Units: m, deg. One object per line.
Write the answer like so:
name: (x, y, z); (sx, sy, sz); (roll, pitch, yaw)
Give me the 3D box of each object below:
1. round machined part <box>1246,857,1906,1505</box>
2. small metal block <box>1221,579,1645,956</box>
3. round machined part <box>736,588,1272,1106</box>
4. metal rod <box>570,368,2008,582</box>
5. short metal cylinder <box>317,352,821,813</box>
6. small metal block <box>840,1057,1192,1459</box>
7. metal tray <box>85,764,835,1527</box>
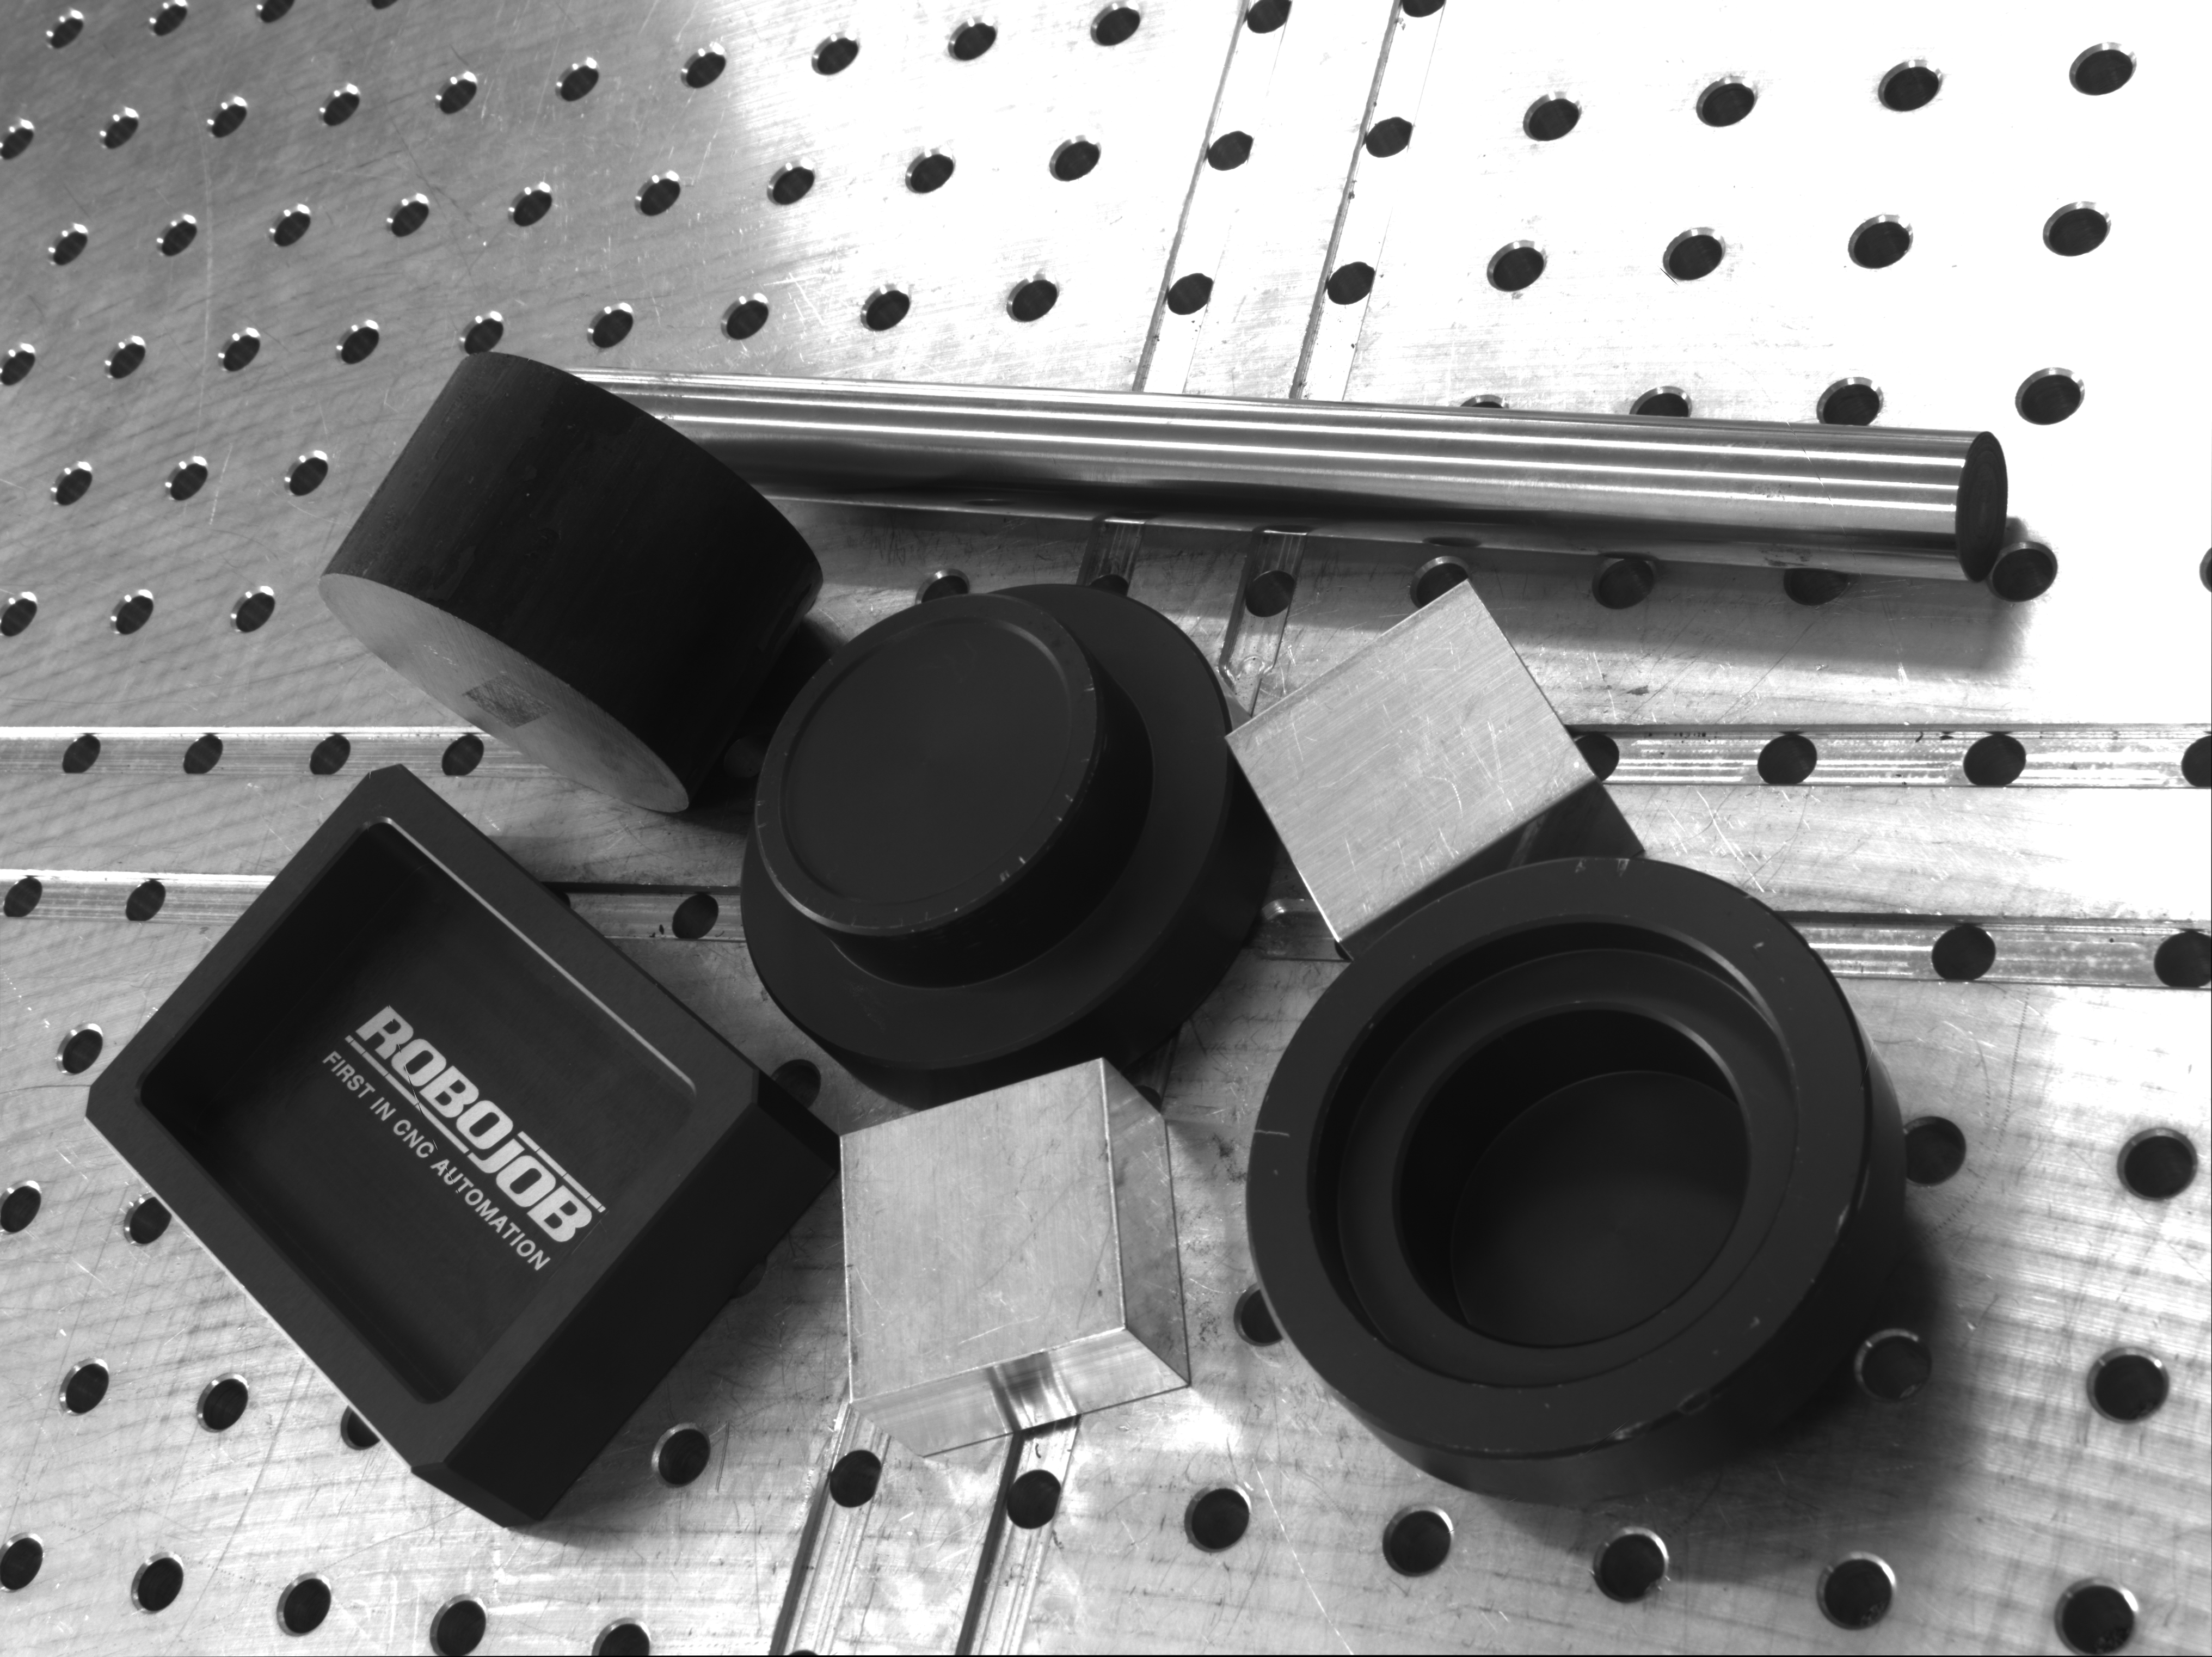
round machined part: (0.074, 0.057, 0.561); (0.098, 0.042, 0.098); (-13, 56, 21)
small metal block: (0.055, -0.006, 0.622); (0.050, 0.025, 0.050); (-33, 51, 7)
round machined part: (-0.023, -0.003, 0.650); (0.098, 0.042, 0.098); (-14, 53, 20)
metal rod: (0.017, -0.068, 0.680); (0.299, 0.025, 0.025); (7, 65, 31)
short metal cylinder: (-0.101, -0.046, 0.695); (0.080, 0.080, 0.050); (19, 72, 36)
small metal block: (-0.016, 0.072, 0.612); (0.050, 0.025, 0.050); (-18, 54, 18)
metal tray: (-0.121, 0.055, 0.676); (0.090, 0.030, 0.130); (-50, 51, -6)
